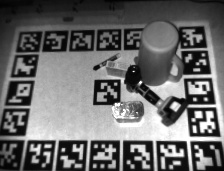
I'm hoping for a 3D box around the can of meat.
[{"bbox_3d":[0.047,0.080,0.739,0.101,0.084,0.057,-3,69,4],"label":"can of meat"}]

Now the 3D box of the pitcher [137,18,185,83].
[{"bbox_3d":[0.156,-0.104,0.719,0.187,0.245,0.133,29,80,21],"label":"pitcher"}]

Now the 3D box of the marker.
[{"bbox_3d":[-0.031,-0.112,0.845,0.121,0.020,0.019,-27,71,-4],"label":"marker"}]

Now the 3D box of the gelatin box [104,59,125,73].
[{"bbox_3d":[0.021,-0.070,0.801,0.089,0.073,0.030,9,76,7],"label":"gelatin box"}]

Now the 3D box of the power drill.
[{"bbox_3d":[0.110,0.002,0.711,0.186,0.185,0.057,33,80,9],"label":"power drill"}]
